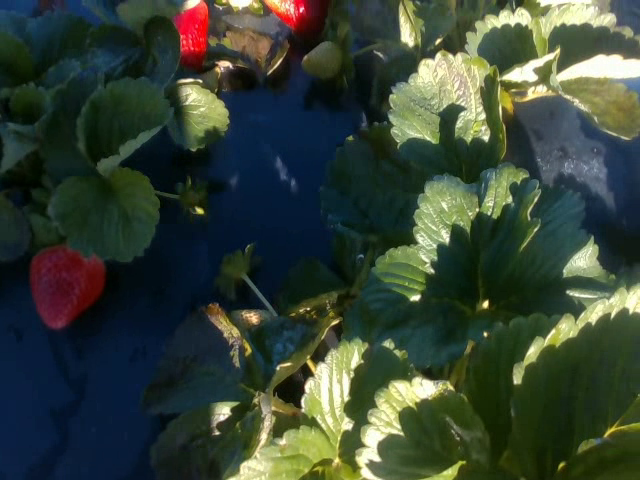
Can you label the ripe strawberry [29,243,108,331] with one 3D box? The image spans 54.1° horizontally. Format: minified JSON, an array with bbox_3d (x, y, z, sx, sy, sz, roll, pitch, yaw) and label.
[{"bbox_3d":[-0.143,0.027,0.345,0.045,0.059,0.042,-18,-27,30],"label":"ripe strawberry"}]
